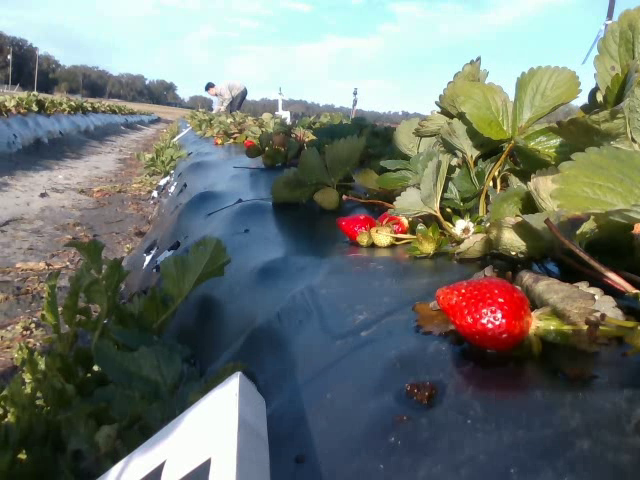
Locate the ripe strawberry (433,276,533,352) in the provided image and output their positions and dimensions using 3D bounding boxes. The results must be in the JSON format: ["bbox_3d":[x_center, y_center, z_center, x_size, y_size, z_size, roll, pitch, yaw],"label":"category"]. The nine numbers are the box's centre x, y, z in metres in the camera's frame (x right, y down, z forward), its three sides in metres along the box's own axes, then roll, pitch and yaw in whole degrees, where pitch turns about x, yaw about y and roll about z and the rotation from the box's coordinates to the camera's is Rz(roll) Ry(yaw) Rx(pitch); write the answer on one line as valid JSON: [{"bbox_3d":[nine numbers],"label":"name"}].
[{"bbox_3d":[0.065,0.031,0.276,0.054,0.038,0.047,12,27,4],"label":"ripe strawberry"}]
